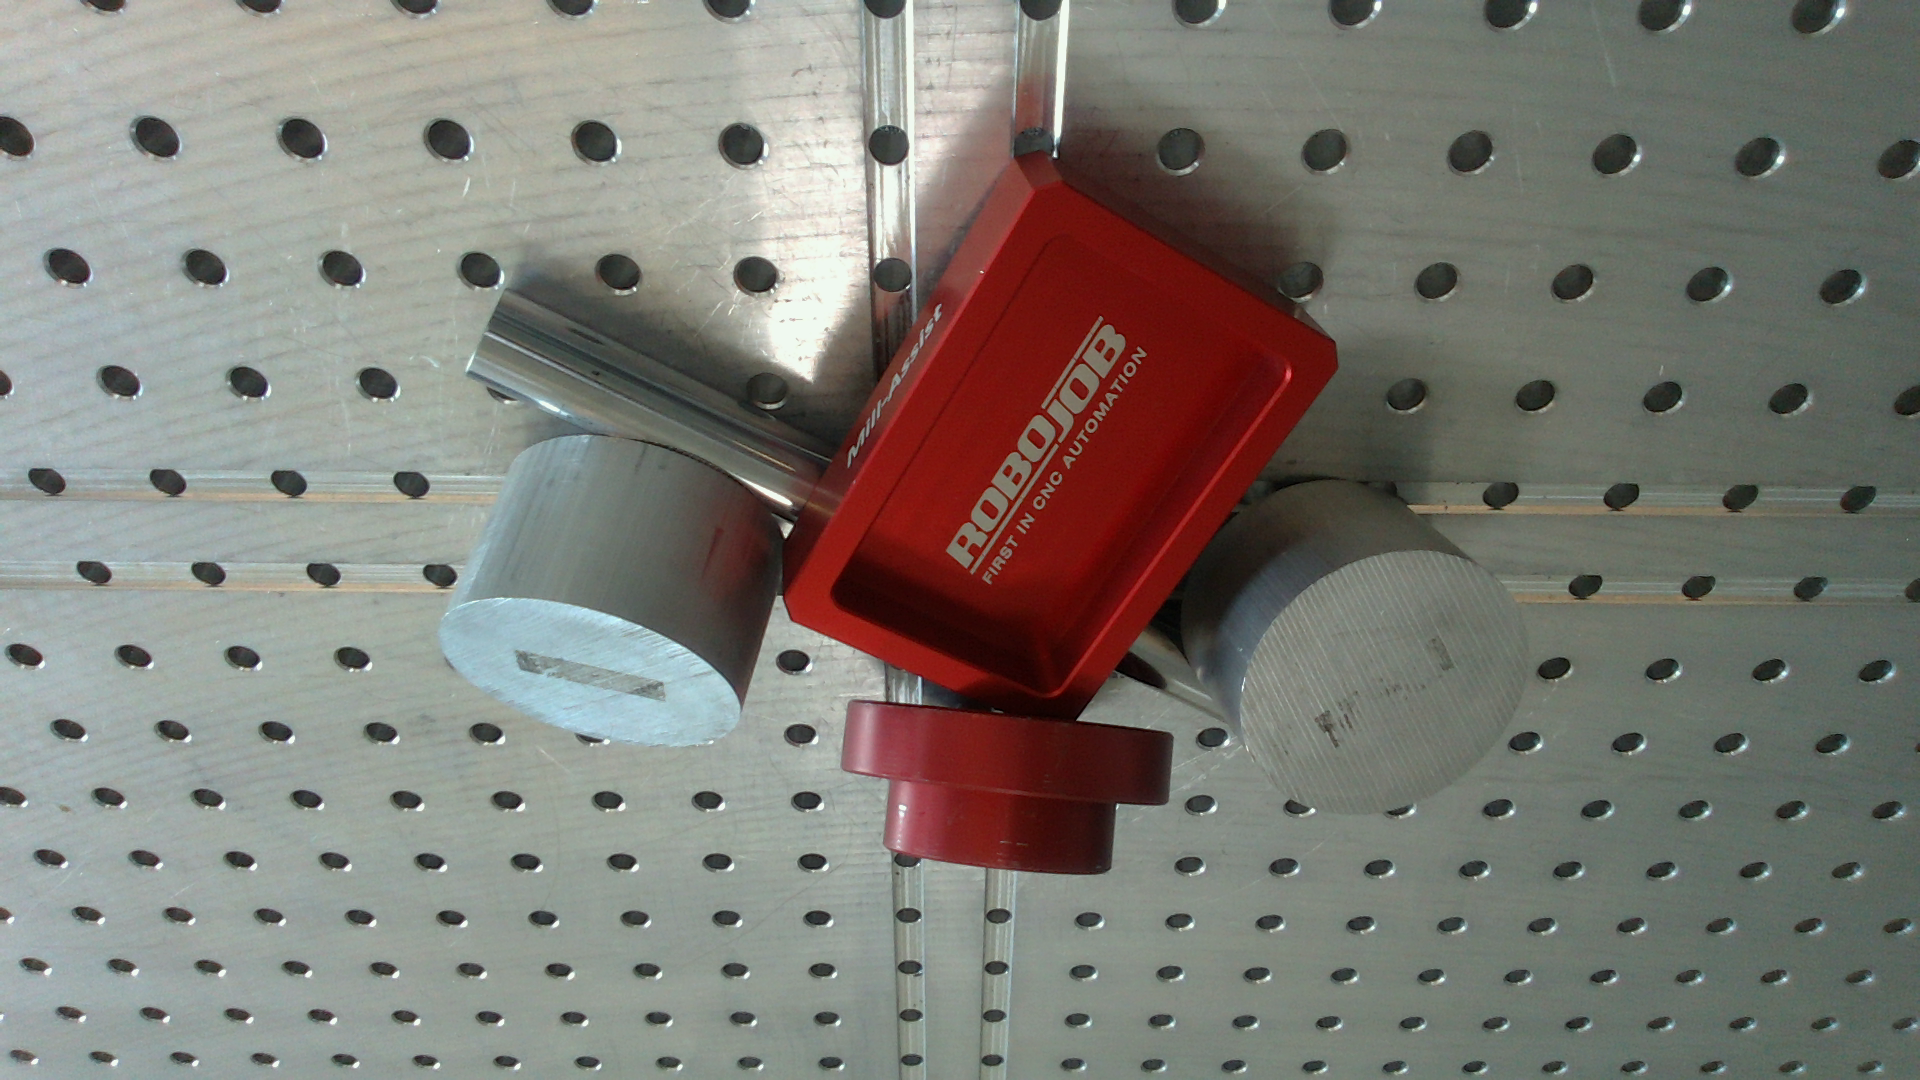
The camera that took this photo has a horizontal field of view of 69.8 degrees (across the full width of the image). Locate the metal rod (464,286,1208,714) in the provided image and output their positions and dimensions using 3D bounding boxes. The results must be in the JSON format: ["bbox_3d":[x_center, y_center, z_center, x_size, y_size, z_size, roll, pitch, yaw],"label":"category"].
[{"bbox_3d":[0.007,0.008,0.400,0.301,0.025,0.025,25,126,-20],"label":"metal rod"}]

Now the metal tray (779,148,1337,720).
[{"bbox_3d":[0.022,-0.020,0.354,0.090,0.030,0.130,25,112,-20],"label":"metal tray"}]

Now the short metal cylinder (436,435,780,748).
[{"bbox_3d":[-0.093,0.016,0.375,0.080,0.050,0.080,8,147,5],"label":"short metal cylinder"}]

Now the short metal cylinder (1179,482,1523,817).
[{"bbox_3d":[0.108,0.030,0.387,0.080,0.050,0.080,-4,114,-10],"label":"short metal cylinder"}]

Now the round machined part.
[{"bbox_3d":[0.012,0.074,0.409,0.098,0.042,0.098,6,173,1],"label":"round machined part"}]
